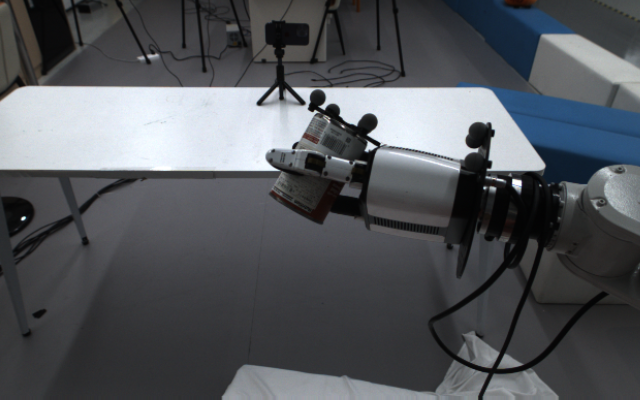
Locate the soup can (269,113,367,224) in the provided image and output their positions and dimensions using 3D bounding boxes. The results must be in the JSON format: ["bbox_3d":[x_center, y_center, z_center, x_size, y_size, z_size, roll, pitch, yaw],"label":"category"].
[{"bbox_3d":[0.000,-0.034,0.526,0.067,0.101,0.067,30,2,-1],"label":"soup can"}]
